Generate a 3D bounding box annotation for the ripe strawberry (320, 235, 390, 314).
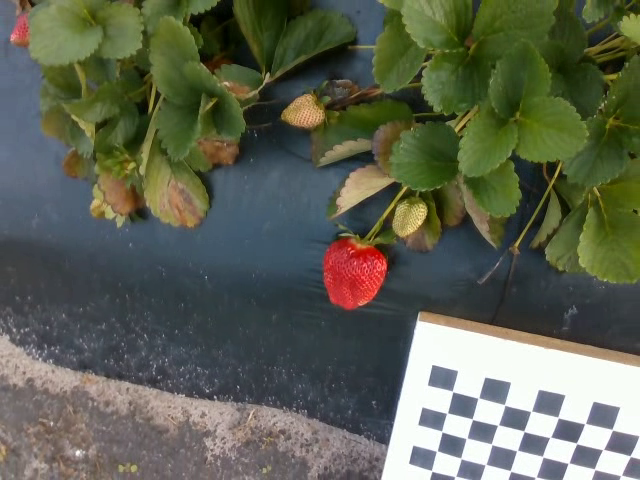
[{"bbox_3d":[0.028,0.033,0.569,0.067,0.075,0.039,16,22,9],"label":"ripe strawberry"}]
